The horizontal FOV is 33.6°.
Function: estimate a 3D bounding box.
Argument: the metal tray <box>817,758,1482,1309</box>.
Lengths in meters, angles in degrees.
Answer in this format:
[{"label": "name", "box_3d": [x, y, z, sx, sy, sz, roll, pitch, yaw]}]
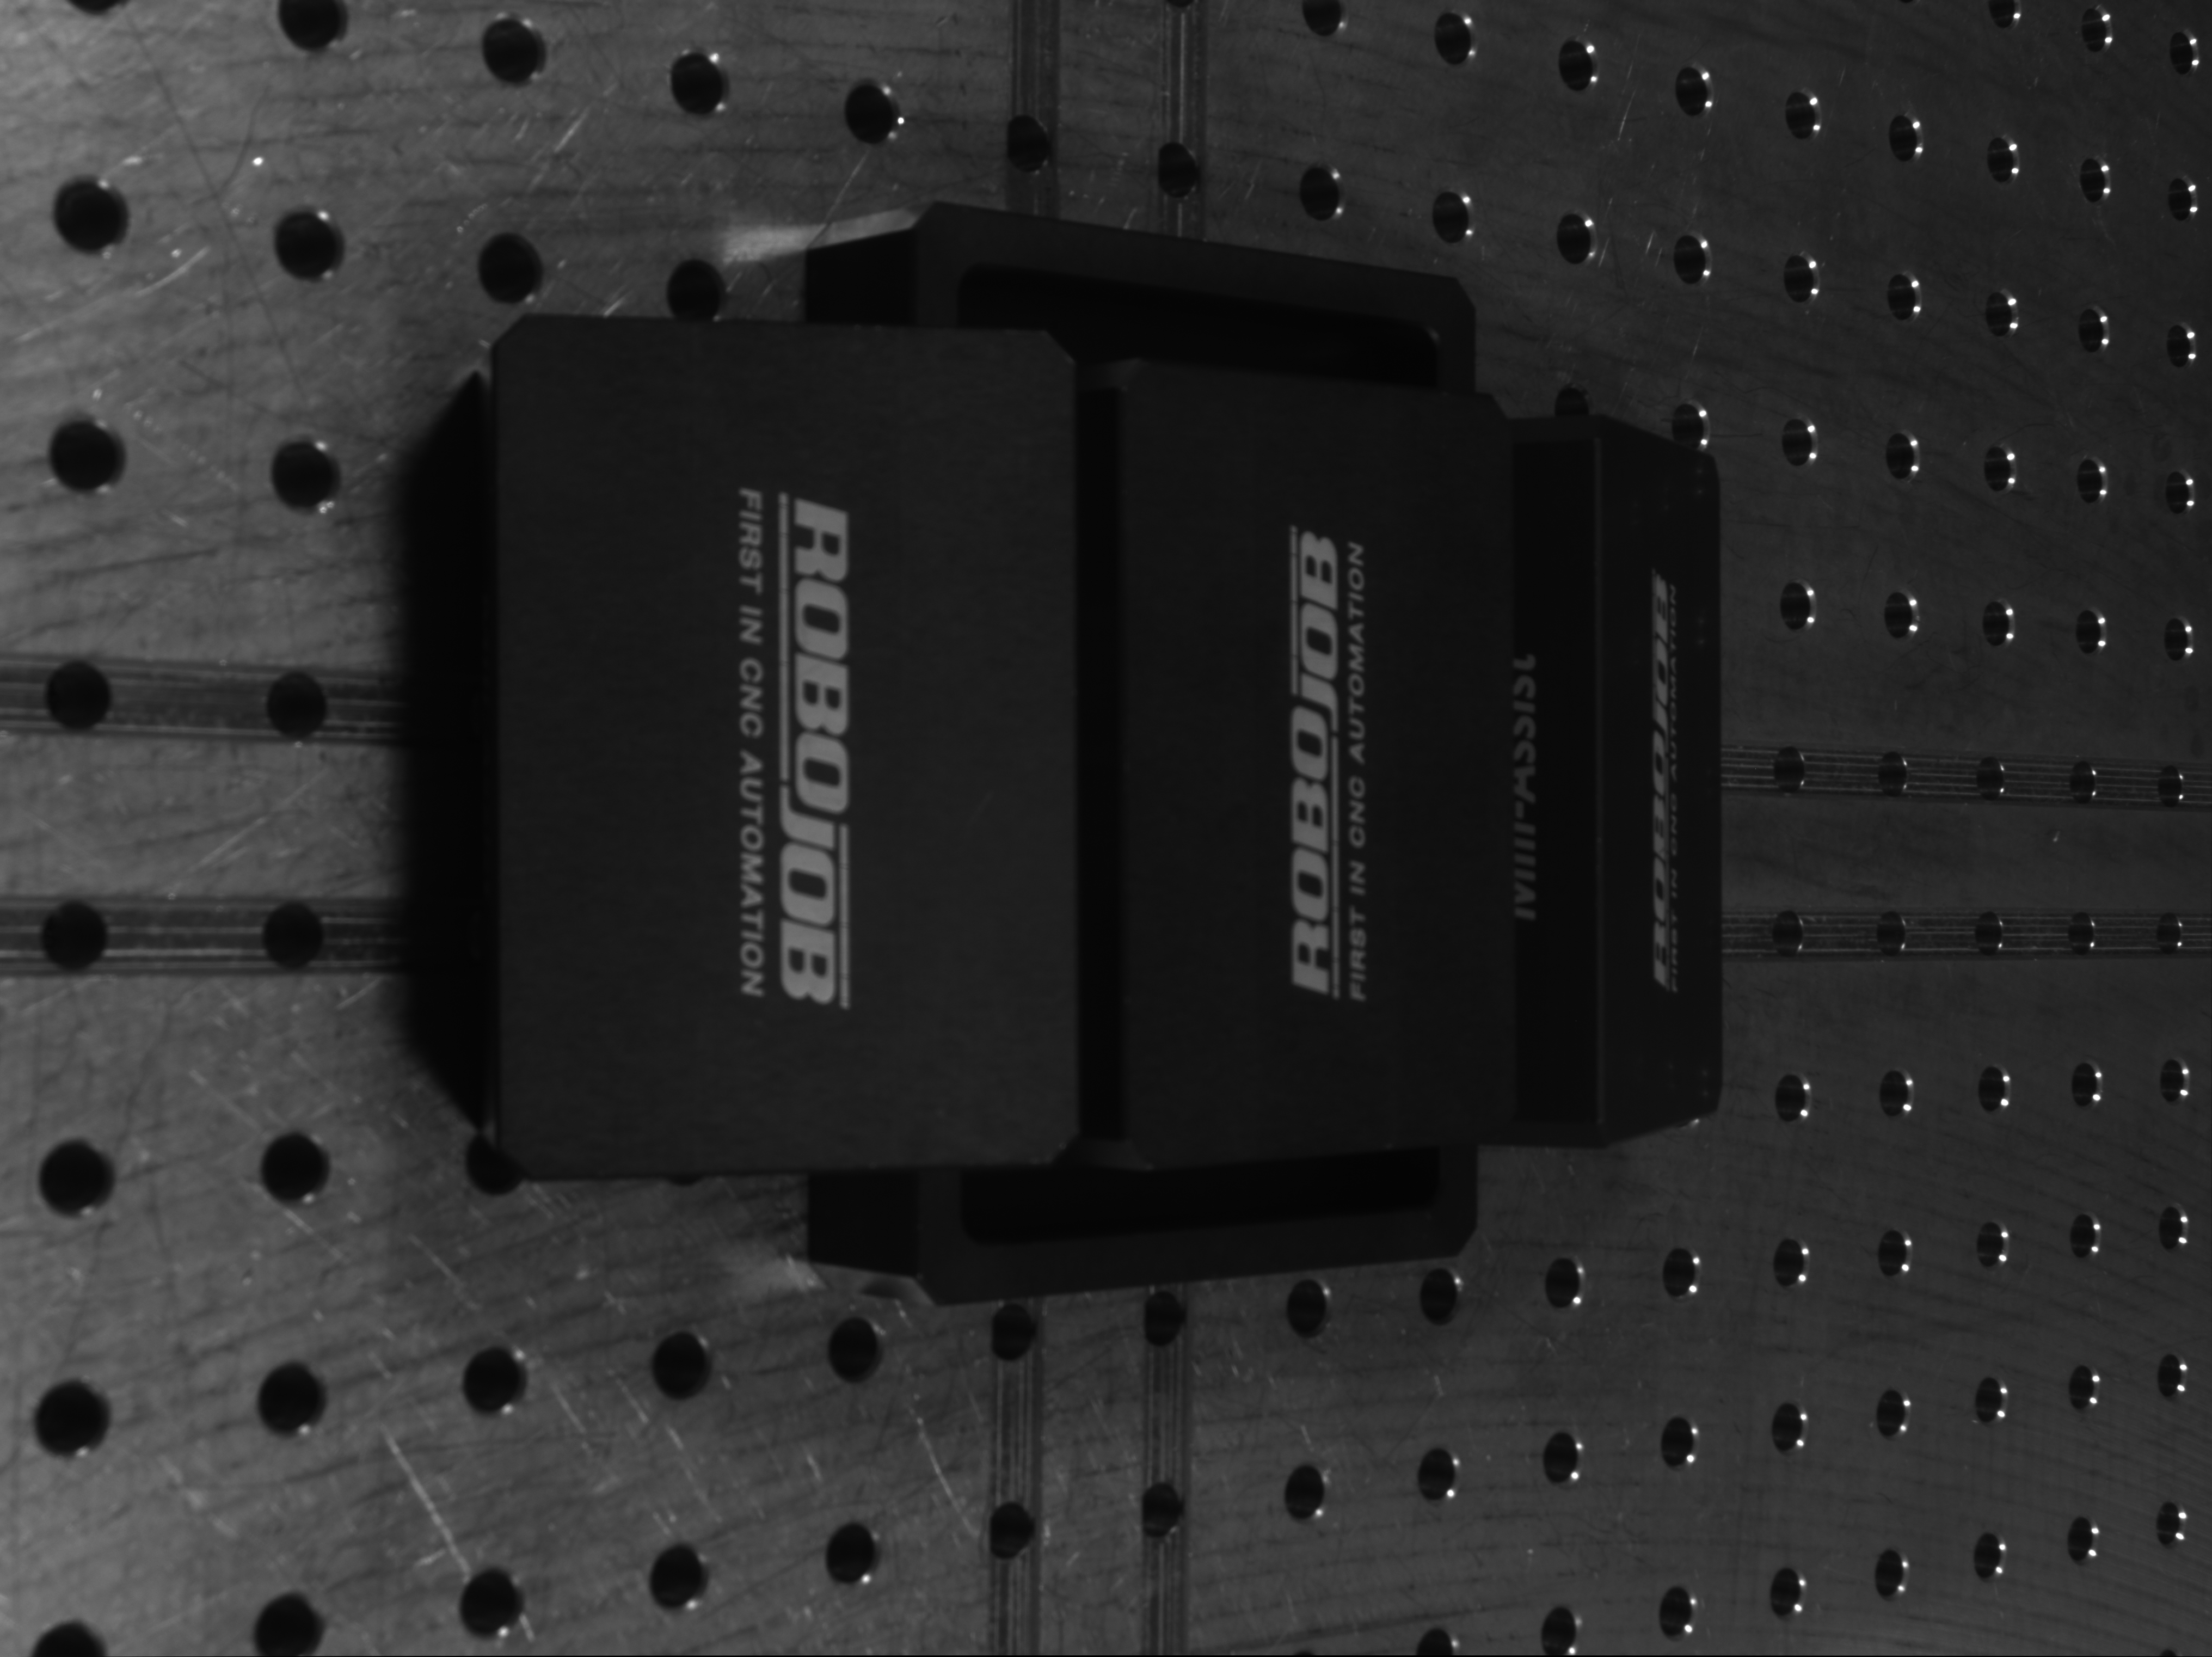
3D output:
[{"label": "metal tray", "box_3d": [0.011, 0.034, 0.647, 0.130, 0.030, 0.090, 1, 90, -40]}]

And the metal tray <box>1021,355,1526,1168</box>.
[{"label": "metal tray", "box_3d": [0.030, -0.011, 0.622, 0.090, 0.030, 0.130, 0, 90, -40]}]

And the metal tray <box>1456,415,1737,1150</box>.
[{"label": "metal tray", "box_3d": [0.093, -0.008, 0.690, 0.090, 0.030, 0.130, -1, 91, -67]}]

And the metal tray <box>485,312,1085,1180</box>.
[{"label": "metal tray", "box_3d": [-0.050, -0.012, 0.572, 0.090, 0.030, 0.130, 0, 90, -14]}]

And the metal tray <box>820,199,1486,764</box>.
[{"label": "metal tray", "box_3d": [0.011, -0.057, 0.646, 0.130, 0.030, 0.090, 1, 90, -40]}]
